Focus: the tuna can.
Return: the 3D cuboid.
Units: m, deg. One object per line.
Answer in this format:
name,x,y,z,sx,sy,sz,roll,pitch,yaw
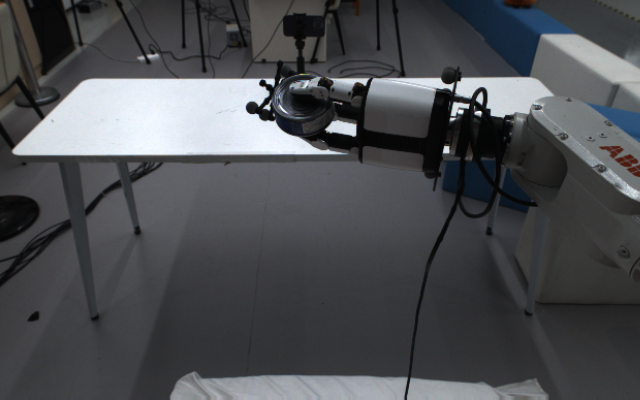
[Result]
tuna can,-0.020,-0.127,0.661,0.085,0.034,0.085,-1,62,1
